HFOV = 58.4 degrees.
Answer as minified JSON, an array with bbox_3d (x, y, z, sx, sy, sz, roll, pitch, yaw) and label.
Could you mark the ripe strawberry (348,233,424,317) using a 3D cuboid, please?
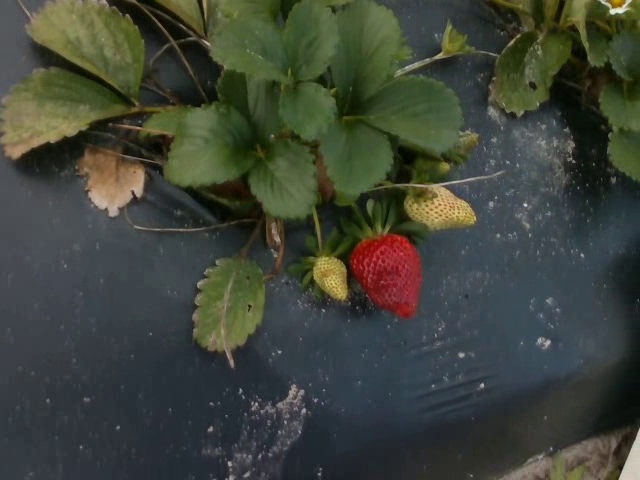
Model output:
[{"bbox_3d":[0.041,0.025,0.328,0.046,0.059,0.046,-12,-37,-11],"label":"ripe strawberry"}]
